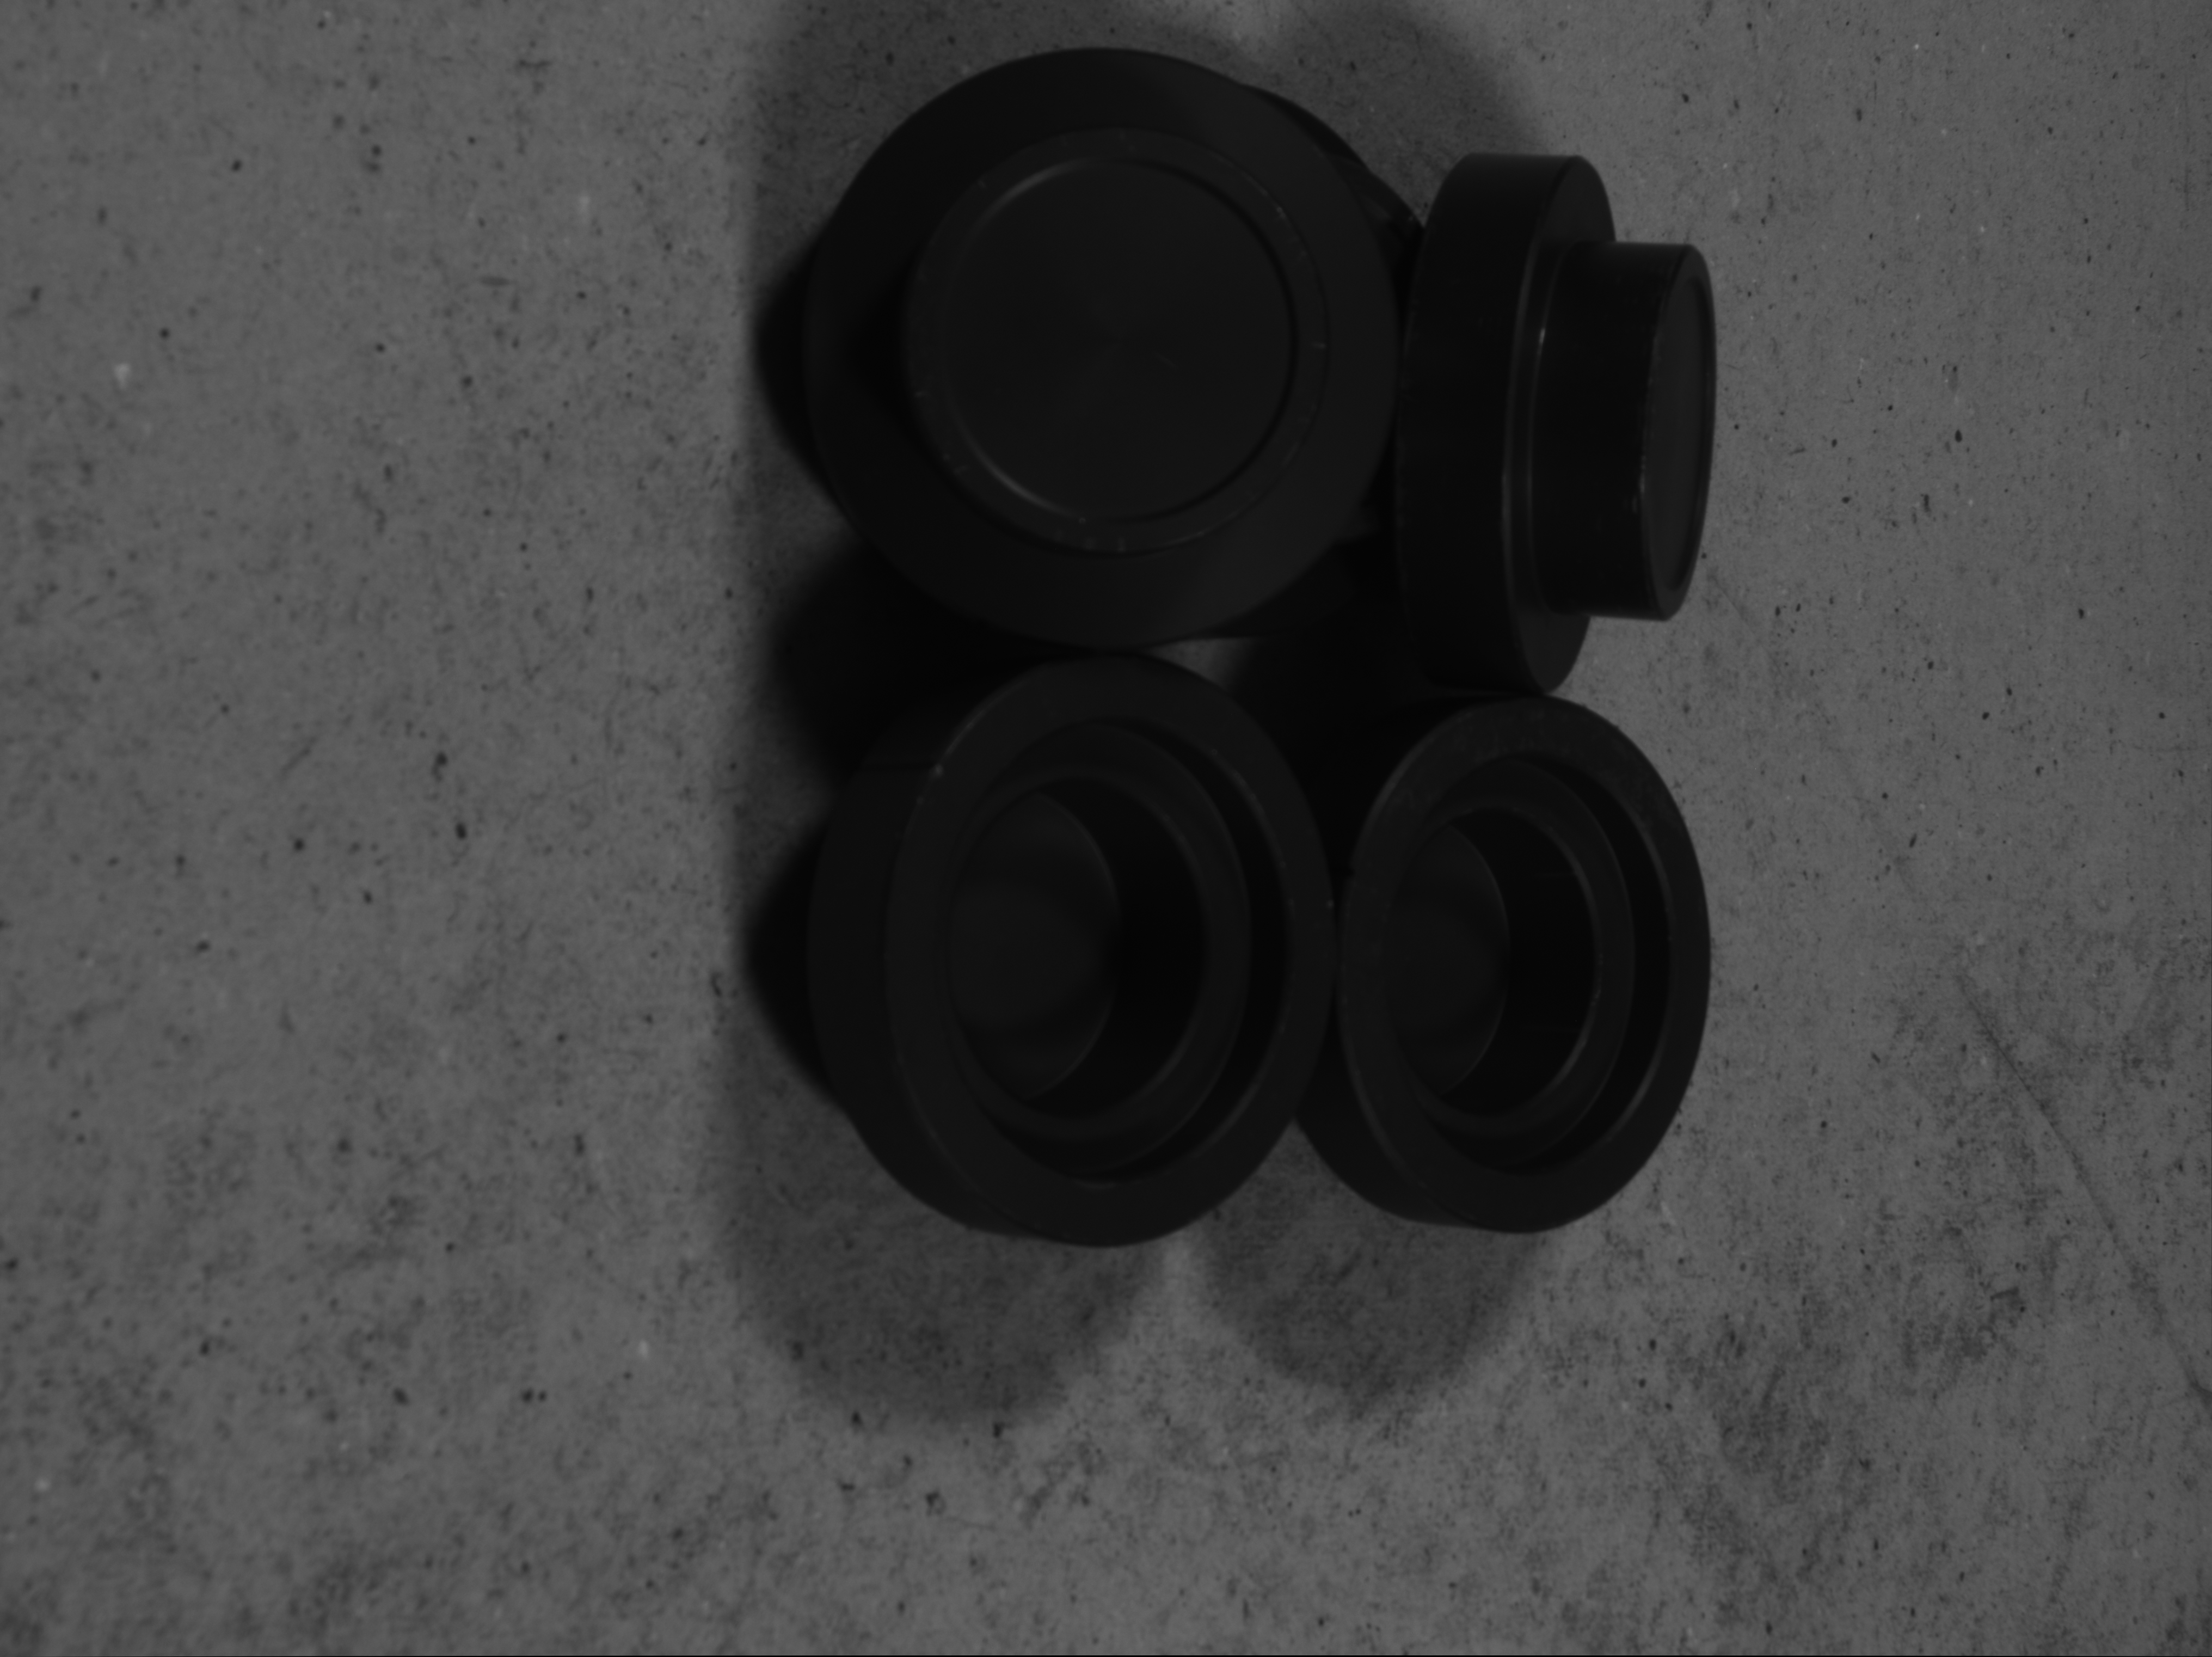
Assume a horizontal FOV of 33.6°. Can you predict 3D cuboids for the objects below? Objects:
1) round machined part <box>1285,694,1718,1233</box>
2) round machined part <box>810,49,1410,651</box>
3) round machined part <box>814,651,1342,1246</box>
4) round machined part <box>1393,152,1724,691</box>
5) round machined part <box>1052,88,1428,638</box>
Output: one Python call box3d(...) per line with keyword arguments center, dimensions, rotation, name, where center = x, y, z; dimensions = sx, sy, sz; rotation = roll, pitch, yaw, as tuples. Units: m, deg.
box3d(center=(0.066, 0.025, 0.681), dimensions=(0.098, 0.042, 0.098), rotation=(0, 90, -40), name="round machined part")
box3d(center=(0.002, -0.078, 0.597), dimensions=(0.098, 0.042, 0.098), rotation=(0, 93, -6), name="round machined part")
box3d(center=(-0.010, 0.020, 0.618), dimensions=(0.098, 0.042, 0.098), rotation=(0, 90, -40), name="round machined part")
box3d(center=(0.086, -0.074, 0.670), dimensions=(0.098, 0.042, 0.098), rotation=(6, 90, -71), name="round machined part")
box3d(center=(0.026, -0.083, 0.647), dimensions=(0.098, 0.042, 0.098), rotation=(0, 90, -40), name="round machined part")
